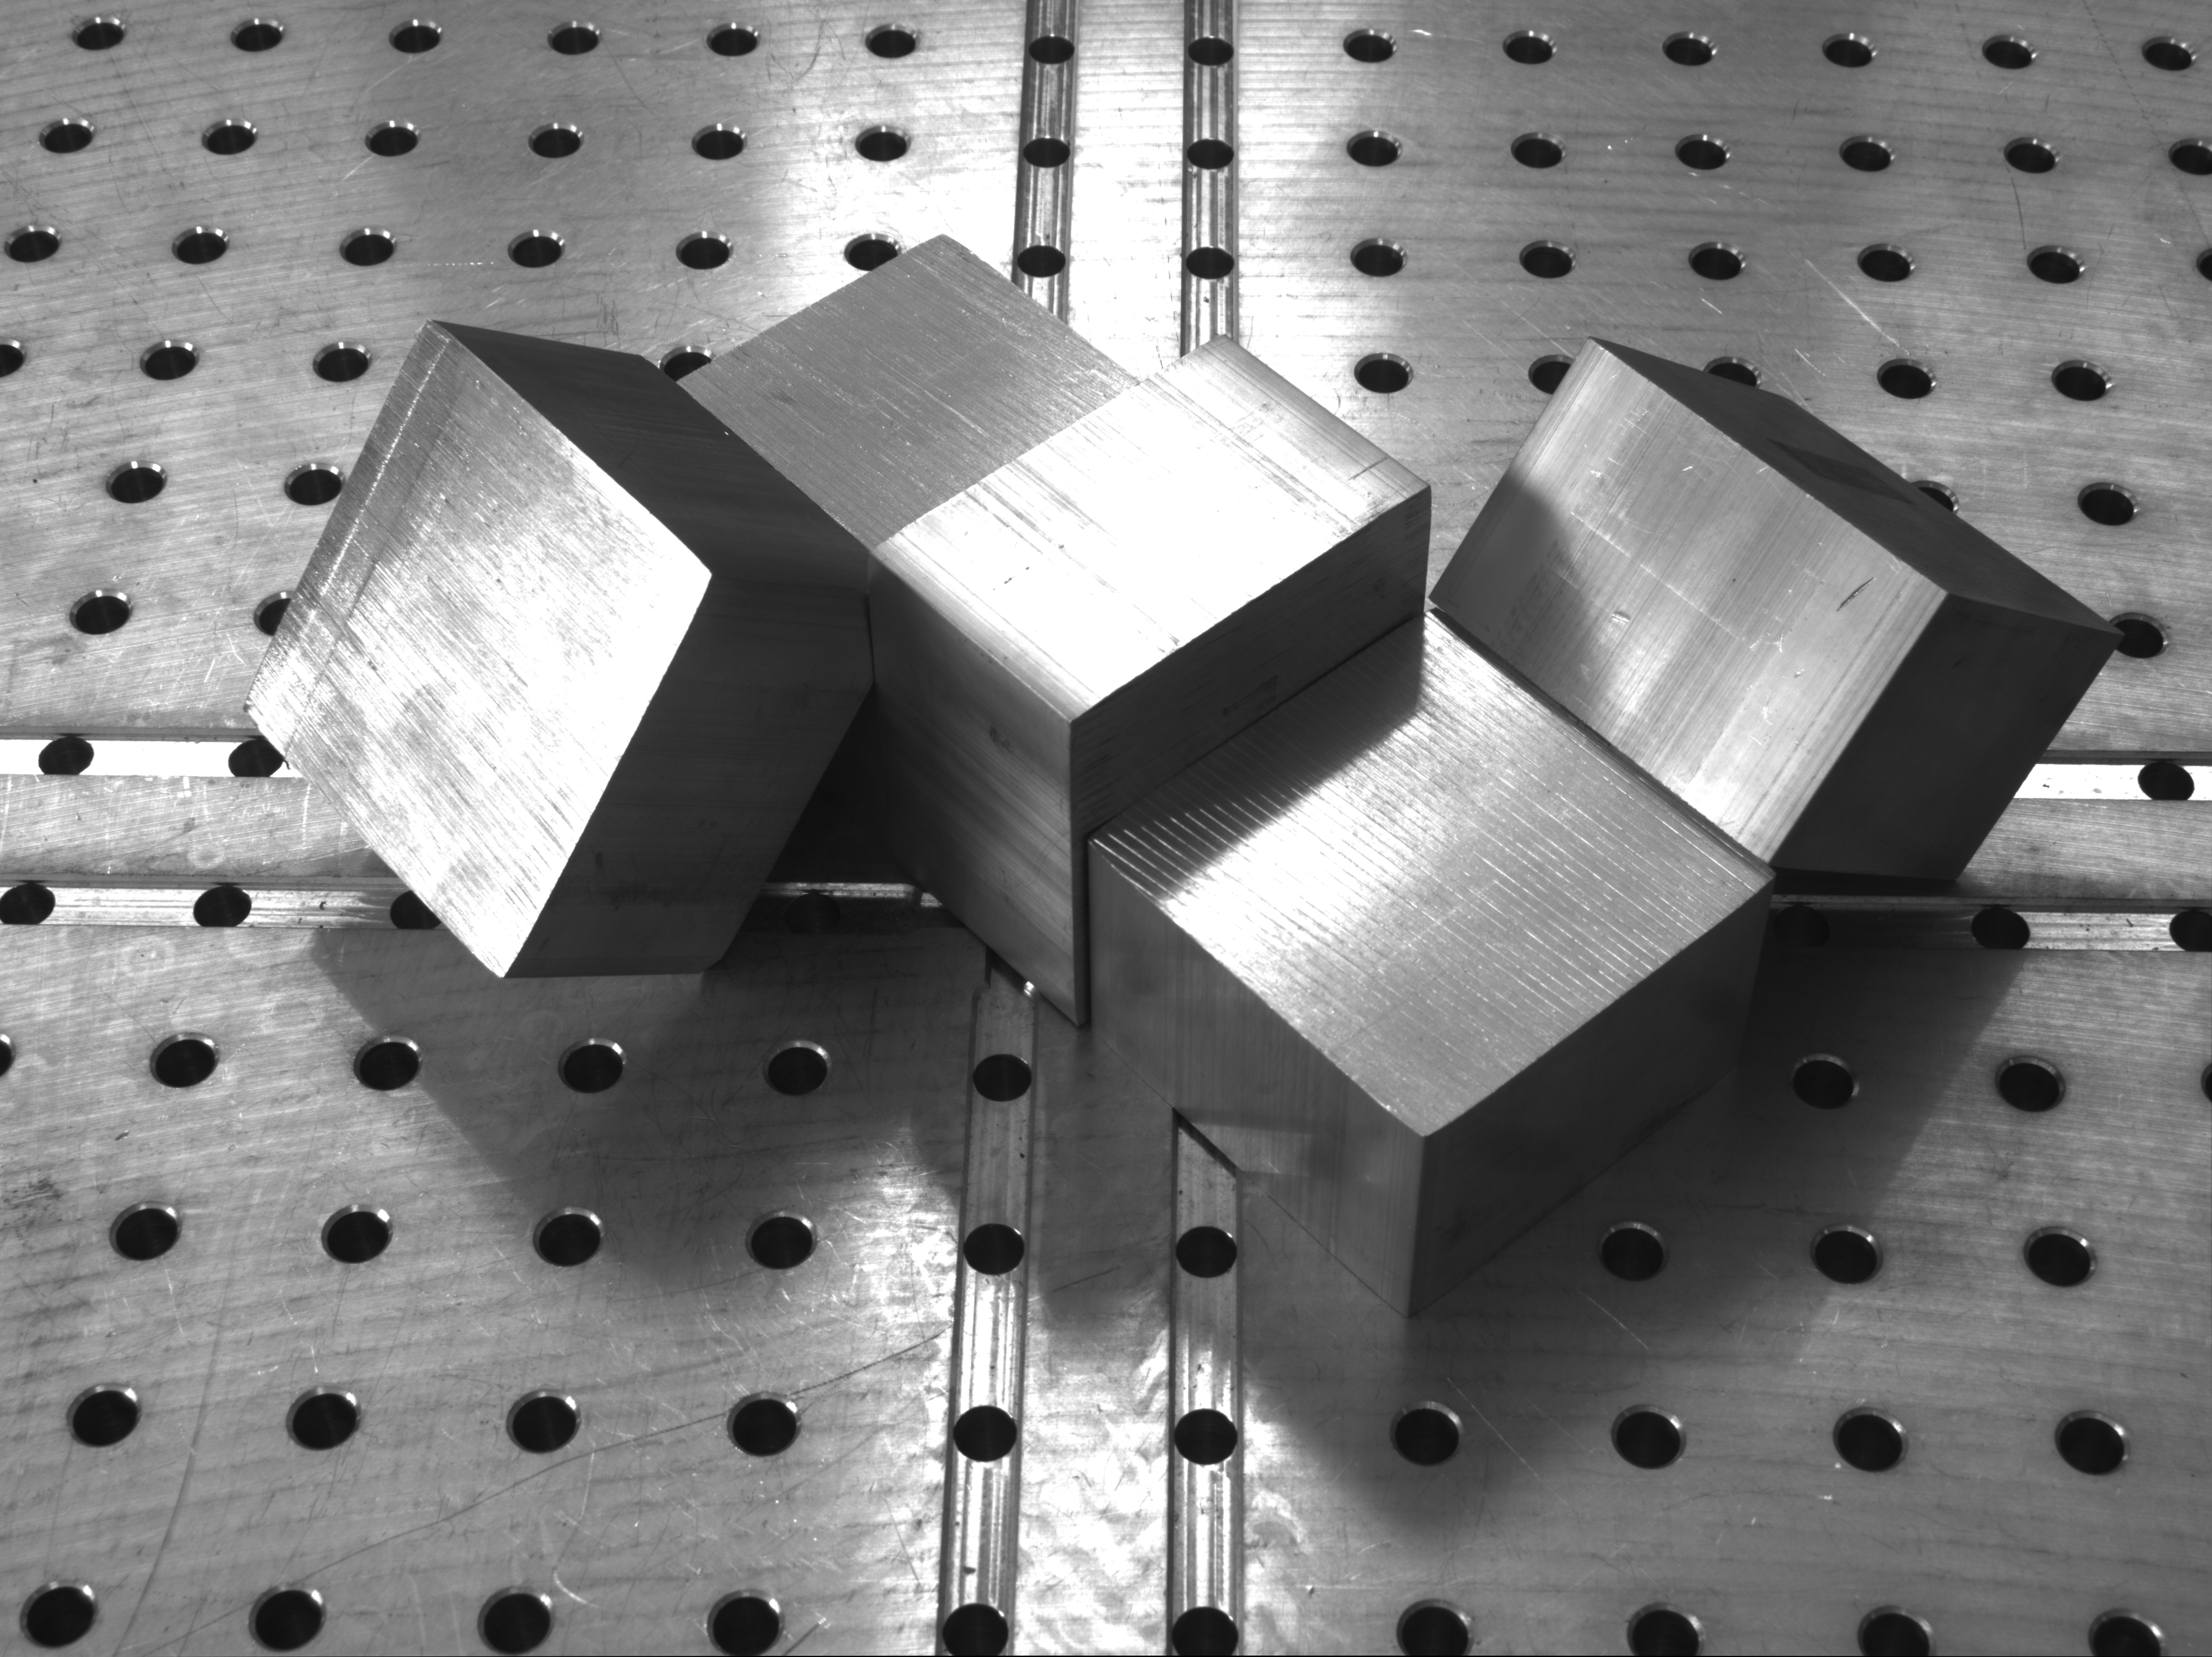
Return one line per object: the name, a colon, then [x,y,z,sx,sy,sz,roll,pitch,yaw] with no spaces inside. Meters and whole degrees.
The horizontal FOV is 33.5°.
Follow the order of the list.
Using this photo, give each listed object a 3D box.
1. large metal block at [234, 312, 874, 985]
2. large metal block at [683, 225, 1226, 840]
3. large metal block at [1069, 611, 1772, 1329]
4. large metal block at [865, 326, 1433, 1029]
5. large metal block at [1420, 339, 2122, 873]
large metal block: [-0.092,-0.030,0.625,0.080,0.080,0.050,42,22,29]
large metal block: [-0.035,-0.054,0.674,0.080,0.050,0.080,-35,58,-24]
large metal block: [0.051,0.022,0.610,0.080,0.050,0.080,-33,56,-25]
large metal block: [0.007,-0.026,0.631,0.080,0.080,0.050,-34,59,-26]
large metal block: [0.115,-0.037,0.633,0.080,0.050,0.080,42,21,29]
